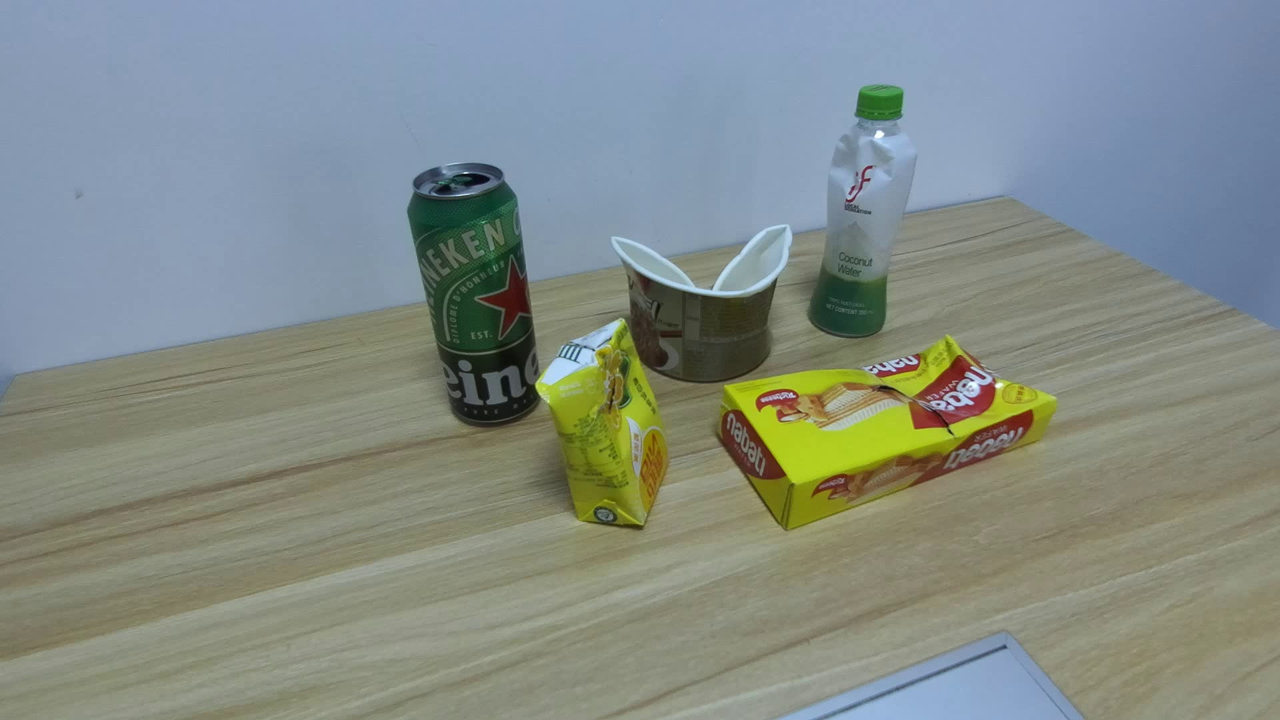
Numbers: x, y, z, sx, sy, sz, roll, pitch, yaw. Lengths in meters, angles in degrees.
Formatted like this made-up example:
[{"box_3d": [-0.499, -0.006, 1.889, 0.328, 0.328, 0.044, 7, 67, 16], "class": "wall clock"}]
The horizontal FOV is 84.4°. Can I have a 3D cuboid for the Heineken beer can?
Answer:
[{"box_3d": [-0.107, -0.039, 0.471, 0.067, 0.169, 0.067, -1, 34, 1], "class": "Heineken beer can"}]

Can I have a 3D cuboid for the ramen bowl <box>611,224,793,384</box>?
[{"box_3d": [0.045, -0.046, 0.536, 0.137, 0.098, 0.137, -3, 35, 2], "class": "ramen bowl"}]

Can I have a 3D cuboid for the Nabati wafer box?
[{"box_3d": [0.162, 0.035, 0.469, 0.205, 0.042, 0.106, -13, 38, -18], "class": "Nabati wafer box"}]

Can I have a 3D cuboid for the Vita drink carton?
[{"box_3d": [-0.020, 0.037, 0.414, 0.042, 0.108, 0.087, -3, 29, 22], "class": "Vita drink carton"}]

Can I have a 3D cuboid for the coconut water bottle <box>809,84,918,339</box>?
[{"box_3d": [0.170, -0.110, 0.542, 0.069, 0.186, 0.069, -2, 34, 2], "class": "coconut water bottle"}]
